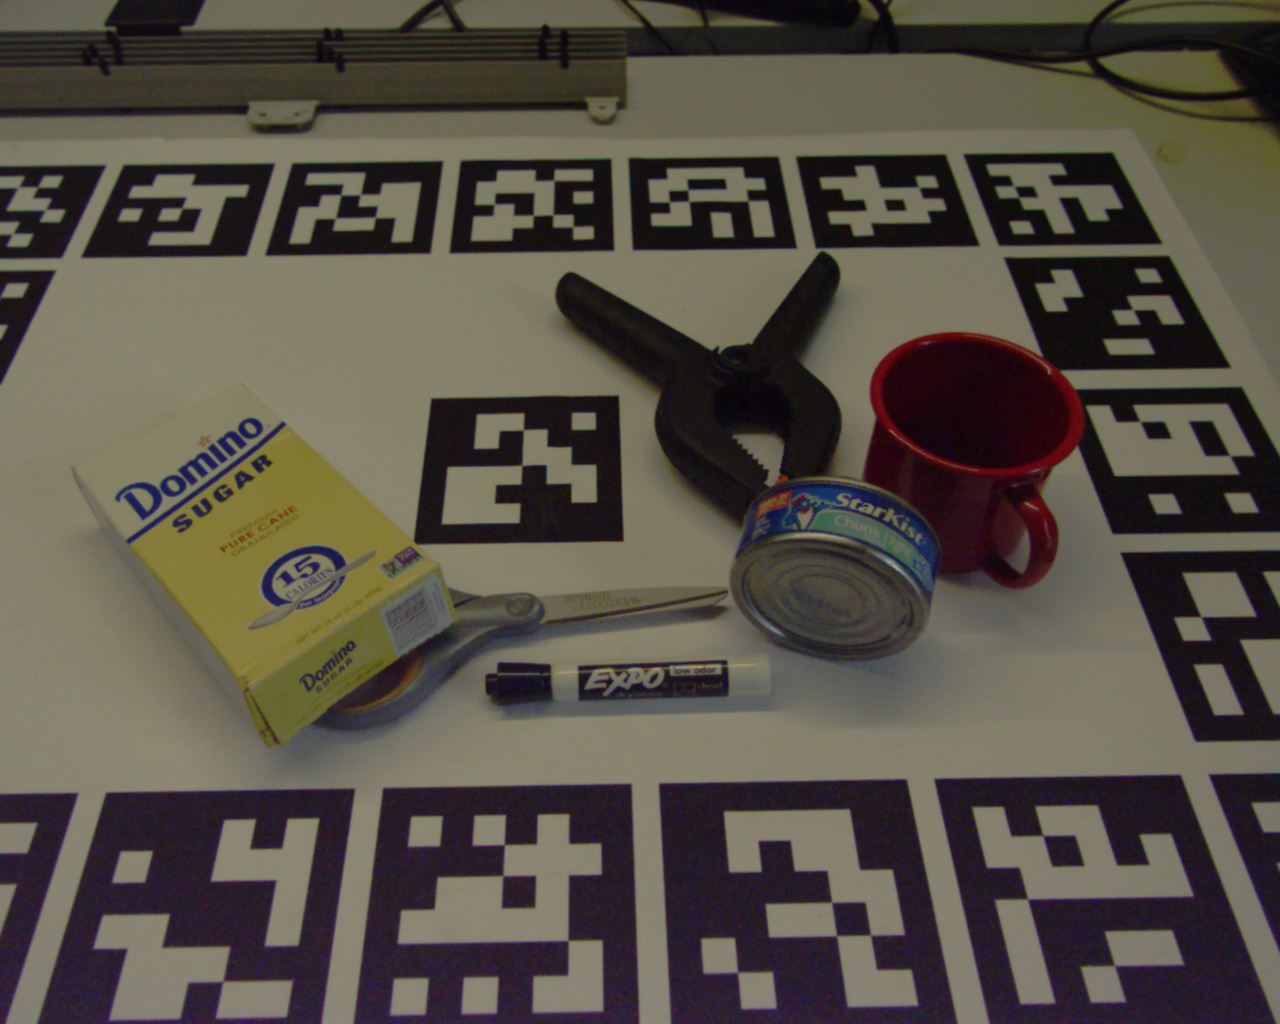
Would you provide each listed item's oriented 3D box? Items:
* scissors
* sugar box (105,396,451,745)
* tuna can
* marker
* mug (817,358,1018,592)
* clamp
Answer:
[{"bbox_3d":[-0.070,0.046,0.546,0.202,0.016,0.088,-8,47,-10],"label":"scissors"},{"bbox_3d":[-0.177,0.019,0.546,0.092,0.045,0.178,-31,52,-24],"label":"sugar box"},{"bbox_3d":[0.079,0.030,0.522,0.086,0.085,0.033,13,51,9],"label":"tuna can"},{"bbox_3d":[-0.022,0.079,0.523,0.121,0.019,0.020,-4,52,-3],"label":"marker"},{"bbox_3d":[0.136,-0.008,0.561,0.092,0.081,0.118,-23,51,-19],"label":"mug"},{"bbox_3d":[0.041,-0.059,0.640,0.165,0.036,0.204,-9,52,-9],"label":"clamp"}]
